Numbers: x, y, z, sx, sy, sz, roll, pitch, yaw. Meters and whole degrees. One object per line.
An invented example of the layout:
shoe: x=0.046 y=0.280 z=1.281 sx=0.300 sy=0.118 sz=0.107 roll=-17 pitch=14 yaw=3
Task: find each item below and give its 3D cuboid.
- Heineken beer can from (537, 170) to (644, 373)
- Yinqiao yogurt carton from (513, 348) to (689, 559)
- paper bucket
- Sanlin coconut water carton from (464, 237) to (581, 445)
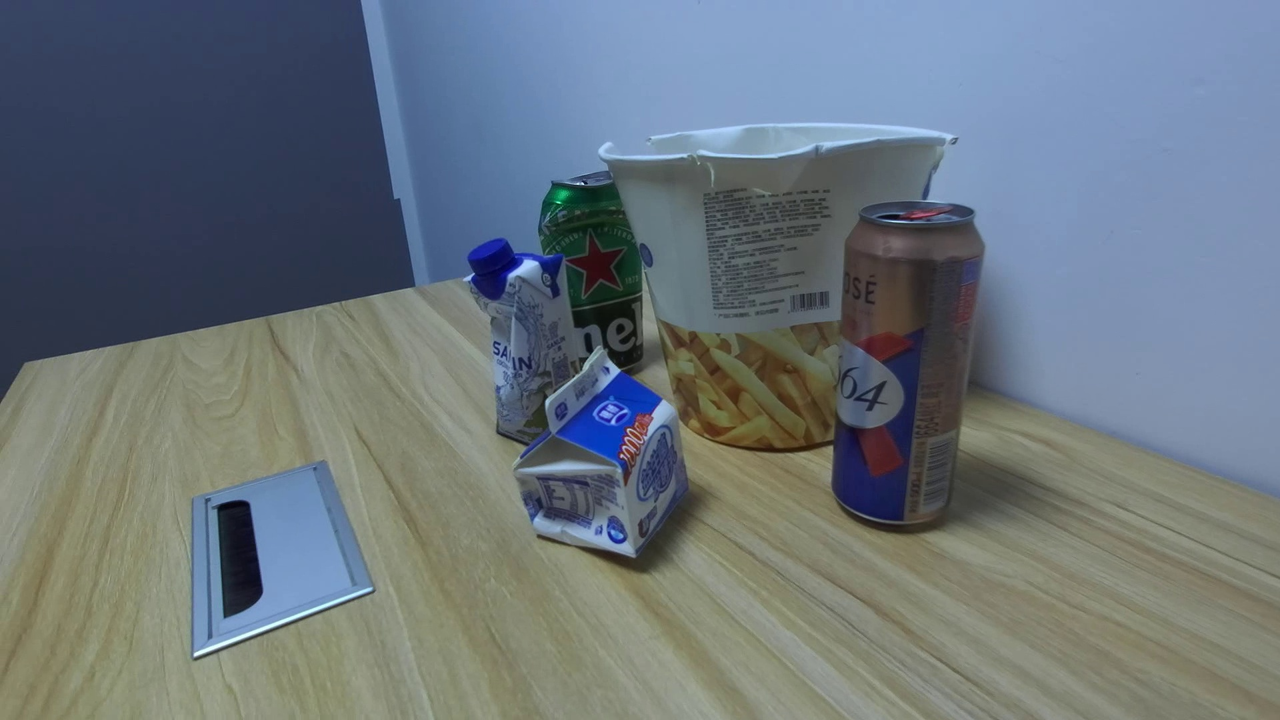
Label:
Heineken beer can: x=-0.031 y=-0.070 z=0.589 sx=0.077 sy=0.164 sz=0.066 roll=-2 pitch=25 yaw=9
Yinqiao yogurt carton: x=-0.027 y=0.048 z=0.391 sx=0.080 sy=0.097 sz=0.074 roll=-2 pitch=22 yaw=27
paper bucket: x=0.089 y=-0.057 z=0.494 sx=0.203 sy=0.197 sz=0.145 roll=-11 pitch=23 yaw=-18
Sanlin coconut water carton: x=-0.077 y=-0.015 z=0.490 sx=0.060 sy=0.144 sz=0.070 roll=12 pitch=27 yaw=39
